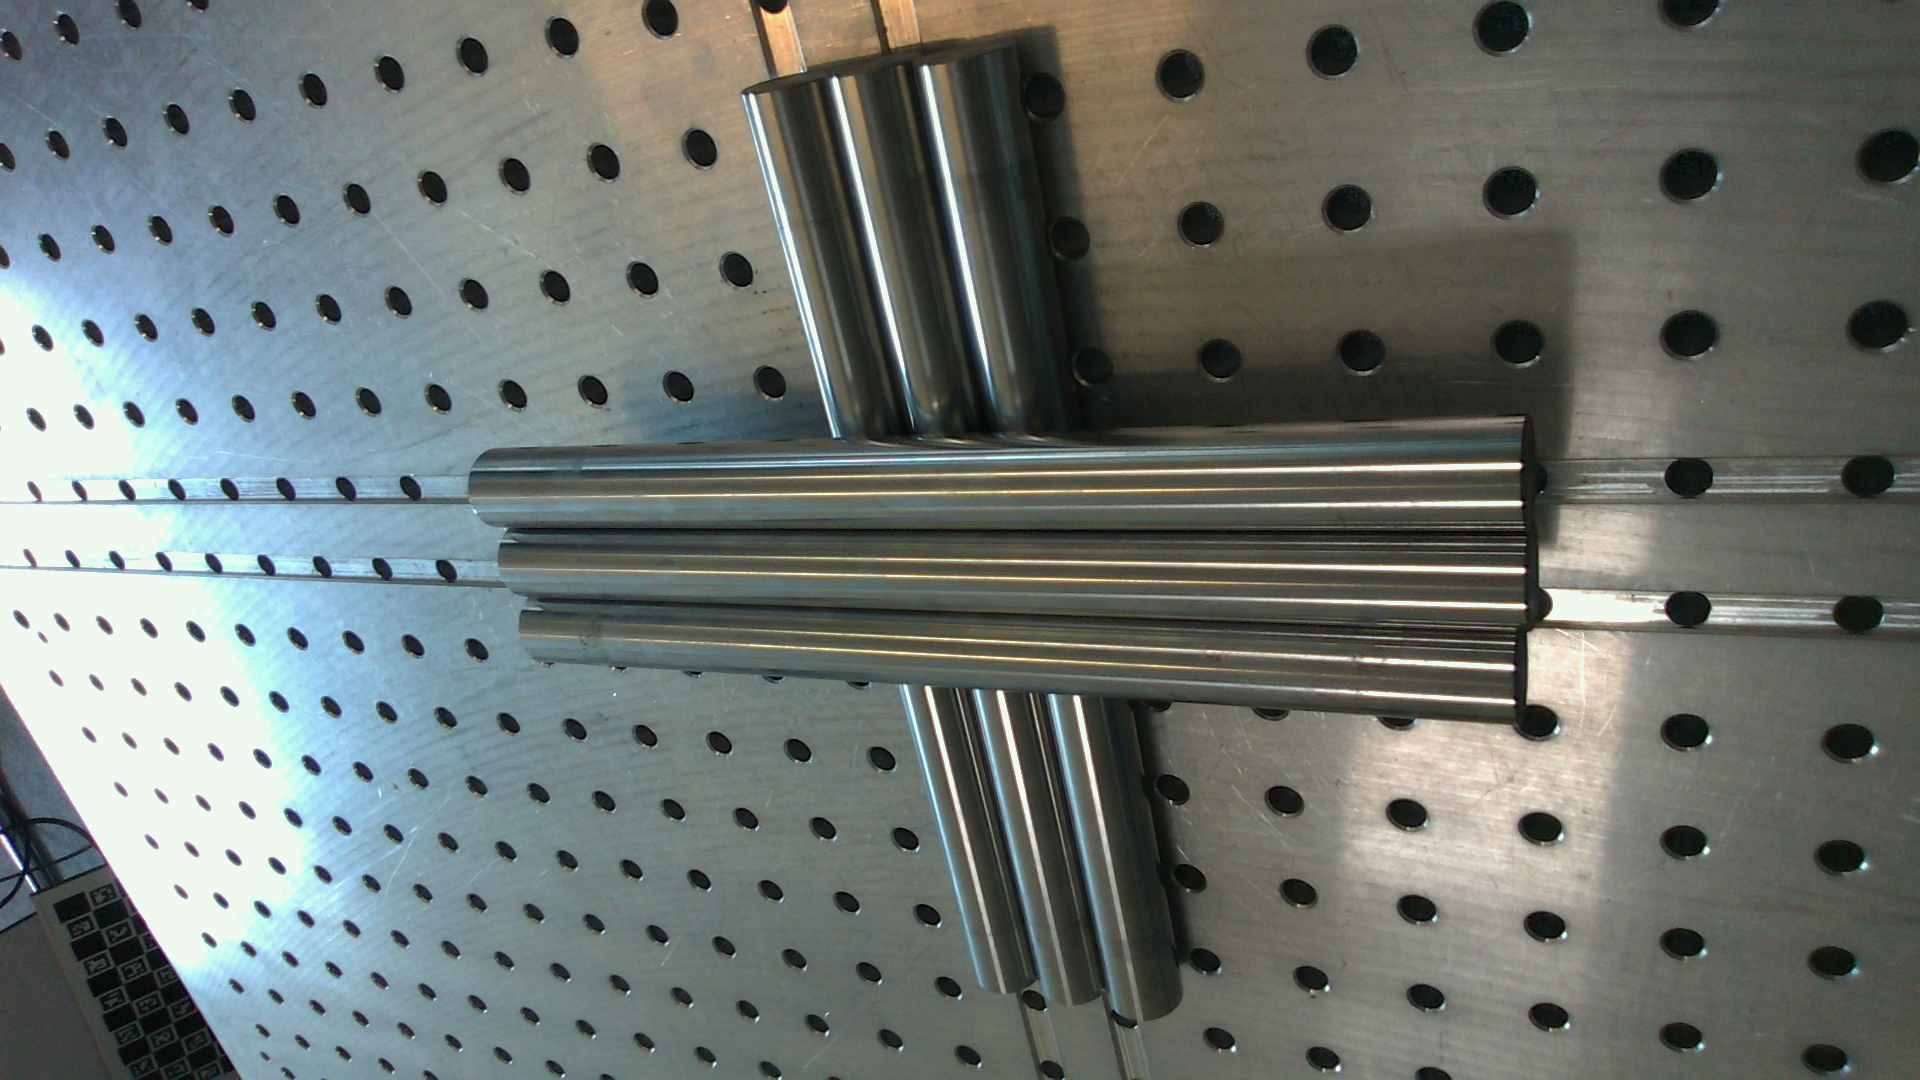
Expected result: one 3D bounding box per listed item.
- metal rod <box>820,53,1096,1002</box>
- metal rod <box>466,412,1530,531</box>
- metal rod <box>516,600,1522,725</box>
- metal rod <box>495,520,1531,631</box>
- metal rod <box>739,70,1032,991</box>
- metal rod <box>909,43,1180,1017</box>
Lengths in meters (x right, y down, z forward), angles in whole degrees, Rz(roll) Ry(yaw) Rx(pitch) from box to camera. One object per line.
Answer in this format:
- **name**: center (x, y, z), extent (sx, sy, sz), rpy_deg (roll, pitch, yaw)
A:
- **metal rod**: center (0.008, 0.016, 0.401), extent (0.025, 0.025, 0.300), rpy_deg (2, 119, 28)
- **metal rod**: center (-0.013, -0.016, 0.361), extent (0.299, 0.025, 0.025), rpy_deg (0, 119, 28)
- **metal rod**: center (-0.005, 0.029, 0.384), extent (0.299, 0.025, 0.025), rpy_deg (0, 119, 28)
- **metal rod**: center (-0.008, 0.006, 0.372), extent (0.299, 0.025, 0.025), rpy_deg (0, 119, 28)
- **metal rod**: center (-0.014, 0.016, 0.413), extent (0.025, 0.025, 0.300), rpy_deg (2, 119, 28)
- **metal rod**: center (0.030, 0.017, 0.390), extent (0.025, 0.025, 0.300), rpy_deg (2, 119, 28)
